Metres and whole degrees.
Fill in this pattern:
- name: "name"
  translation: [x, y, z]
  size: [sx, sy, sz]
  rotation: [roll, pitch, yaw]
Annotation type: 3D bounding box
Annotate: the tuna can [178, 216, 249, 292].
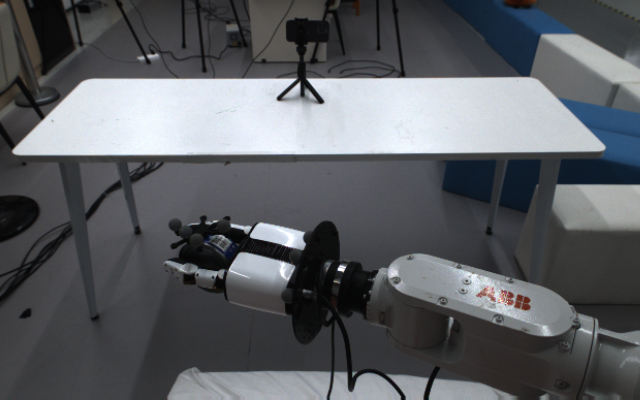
- name: "tuna can"
  translation: [-0.146, 0.086, 0.666]
  size: [0.085, 0.085, 0.034]
  rotation: [14, 33, 16]
